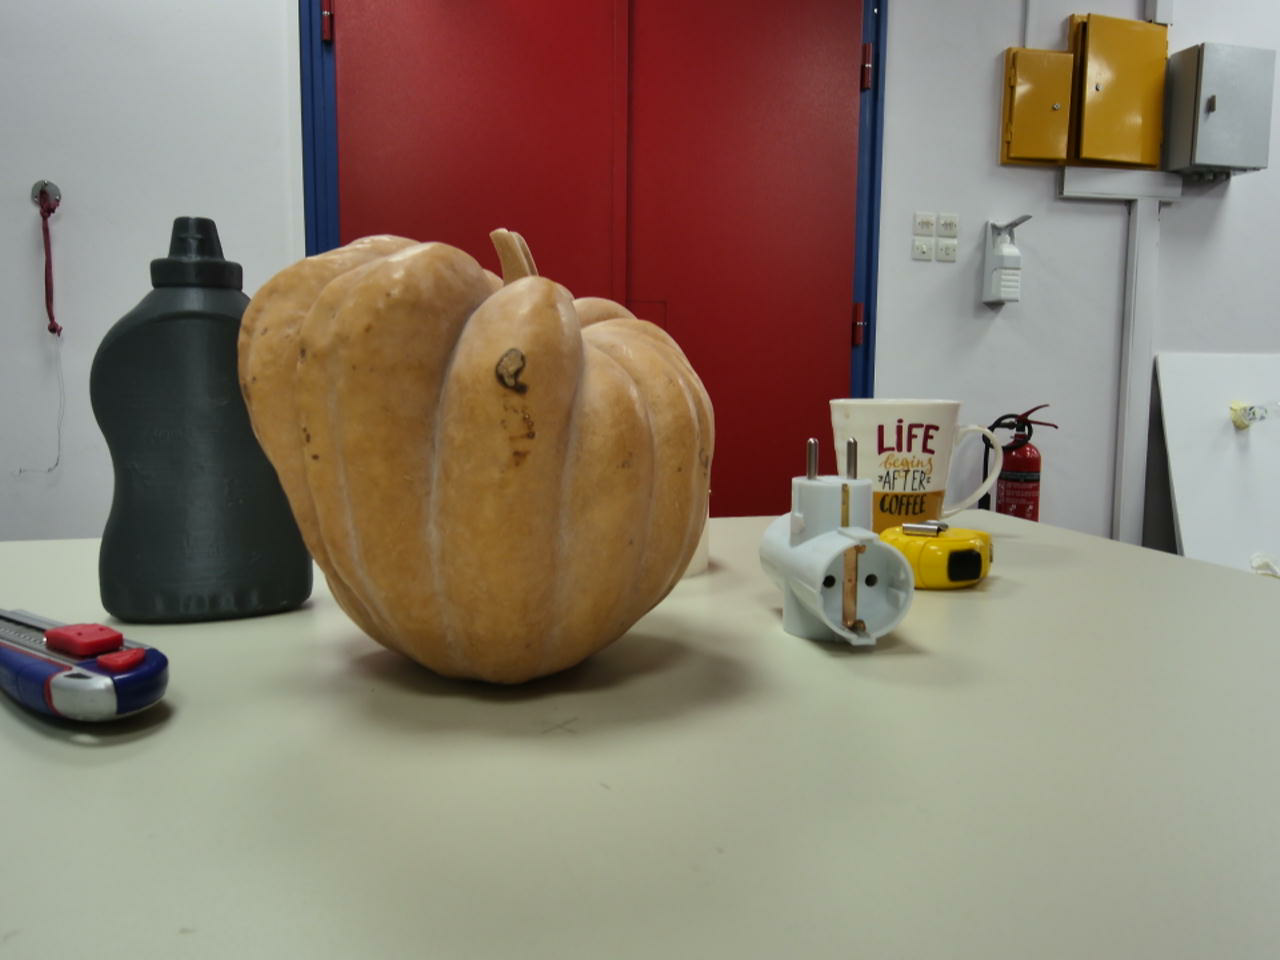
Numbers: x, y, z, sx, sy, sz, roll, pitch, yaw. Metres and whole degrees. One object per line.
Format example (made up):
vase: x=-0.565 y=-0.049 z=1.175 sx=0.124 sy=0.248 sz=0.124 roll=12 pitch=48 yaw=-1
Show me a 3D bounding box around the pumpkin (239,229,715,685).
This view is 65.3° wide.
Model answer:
pumpkin: x=-0.062 y=-0.012 z=0.410 sx=0.199 sy=0.177 sz=0.198 roll=0 pitch=5 yaw=0
